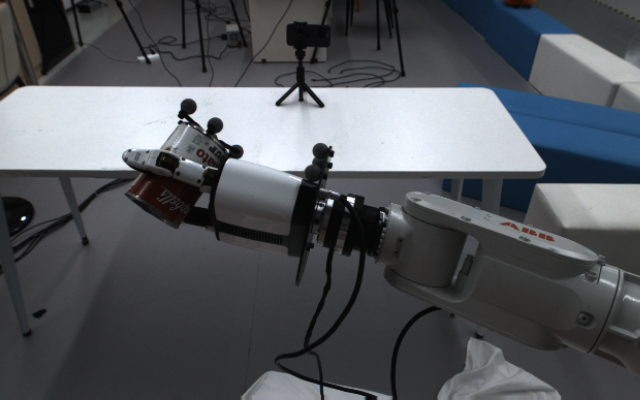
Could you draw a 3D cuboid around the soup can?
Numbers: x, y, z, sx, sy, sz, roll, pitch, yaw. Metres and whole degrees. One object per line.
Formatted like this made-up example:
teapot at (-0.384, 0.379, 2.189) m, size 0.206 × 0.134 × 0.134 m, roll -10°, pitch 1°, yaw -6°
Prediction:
soup can at (-0.157, -0.027, 0.539) m, size 0.067 × 0.067 × 0.101 m, roll 24°, pitch 72°, yaw 28°
